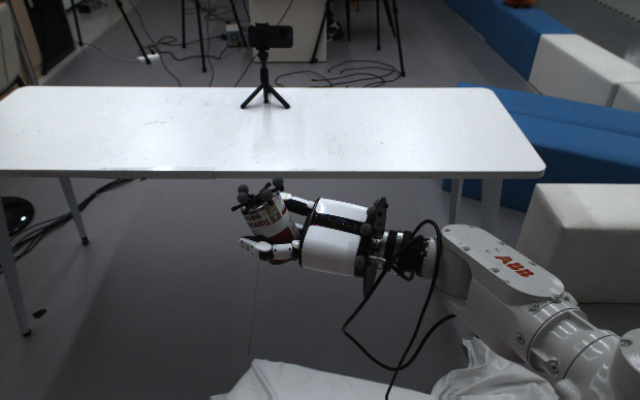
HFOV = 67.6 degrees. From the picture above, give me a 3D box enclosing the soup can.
[{"bbox_3d":[-0.073,0.044,0.768,0.067,0.101,0.067,-21,24,10],"label":"soup can"}]
